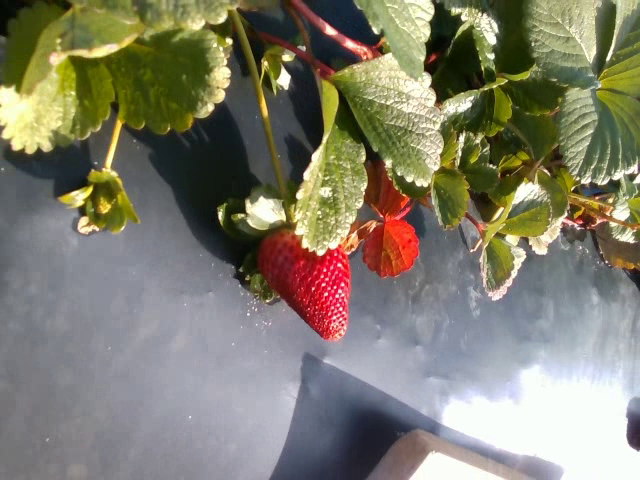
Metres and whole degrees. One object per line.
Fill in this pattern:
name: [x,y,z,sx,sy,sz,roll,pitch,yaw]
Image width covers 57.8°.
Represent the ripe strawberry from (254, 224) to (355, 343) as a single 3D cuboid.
ripe strawberry: [-0.004,0.019,0.234,0.040,0.056,0.041,-20,-13,-14]
